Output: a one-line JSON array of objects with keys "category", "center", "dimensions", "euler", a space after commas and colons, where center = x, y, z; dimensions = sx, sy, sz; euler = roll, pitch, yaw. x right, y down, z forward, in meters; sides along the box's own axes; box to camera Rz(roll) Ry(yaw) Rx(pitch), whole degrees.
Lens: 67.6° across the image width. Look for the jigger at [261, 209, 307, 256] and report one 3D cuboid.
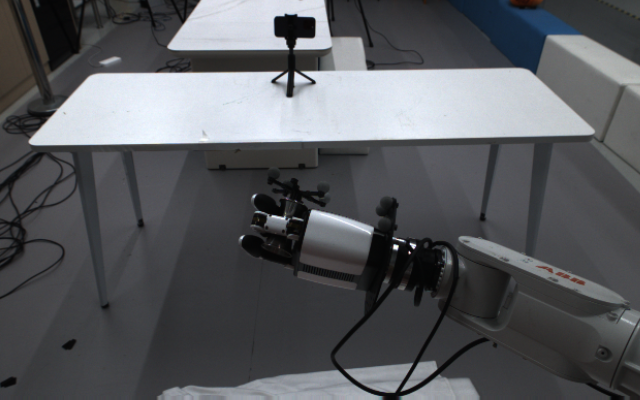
[{"category": "jigger", "center": [-0.043, 0.036, 0.639], "dimensions": [0.043, 0.043, 0.071], "euler": [12, 71, 14]}]
